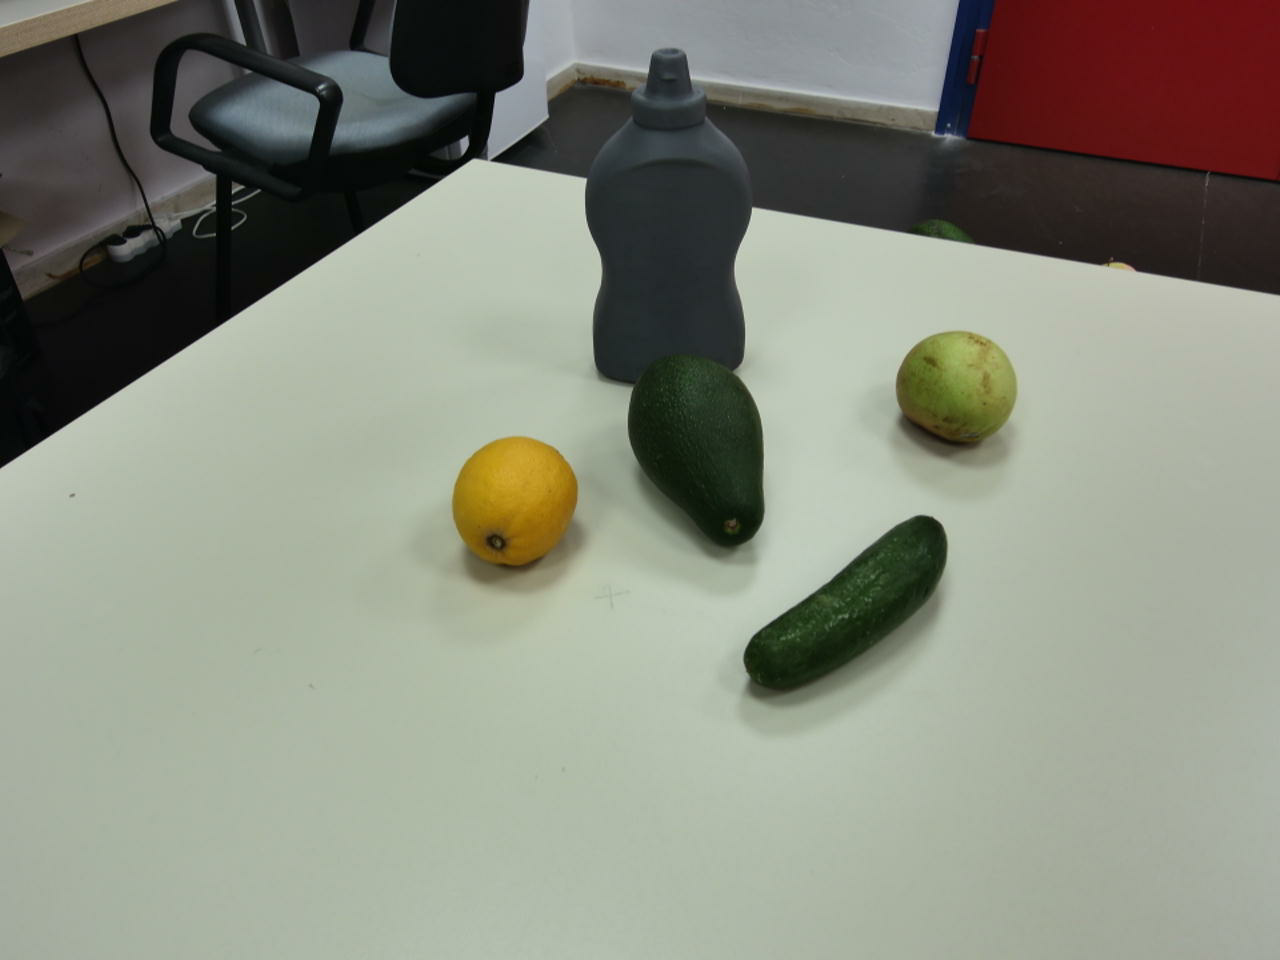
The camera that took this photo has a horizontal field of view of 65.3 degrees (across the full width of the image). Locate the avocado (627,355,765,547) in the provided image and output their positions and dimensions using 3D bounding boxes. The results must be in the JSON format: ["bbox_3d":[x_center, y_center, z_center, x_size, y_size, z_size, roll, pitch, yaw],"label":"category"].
[{"bbox_3d":[0.028,-0.020,0.522,0.072,0.071,0.109,2,38,2],"label":"avocado"}]
